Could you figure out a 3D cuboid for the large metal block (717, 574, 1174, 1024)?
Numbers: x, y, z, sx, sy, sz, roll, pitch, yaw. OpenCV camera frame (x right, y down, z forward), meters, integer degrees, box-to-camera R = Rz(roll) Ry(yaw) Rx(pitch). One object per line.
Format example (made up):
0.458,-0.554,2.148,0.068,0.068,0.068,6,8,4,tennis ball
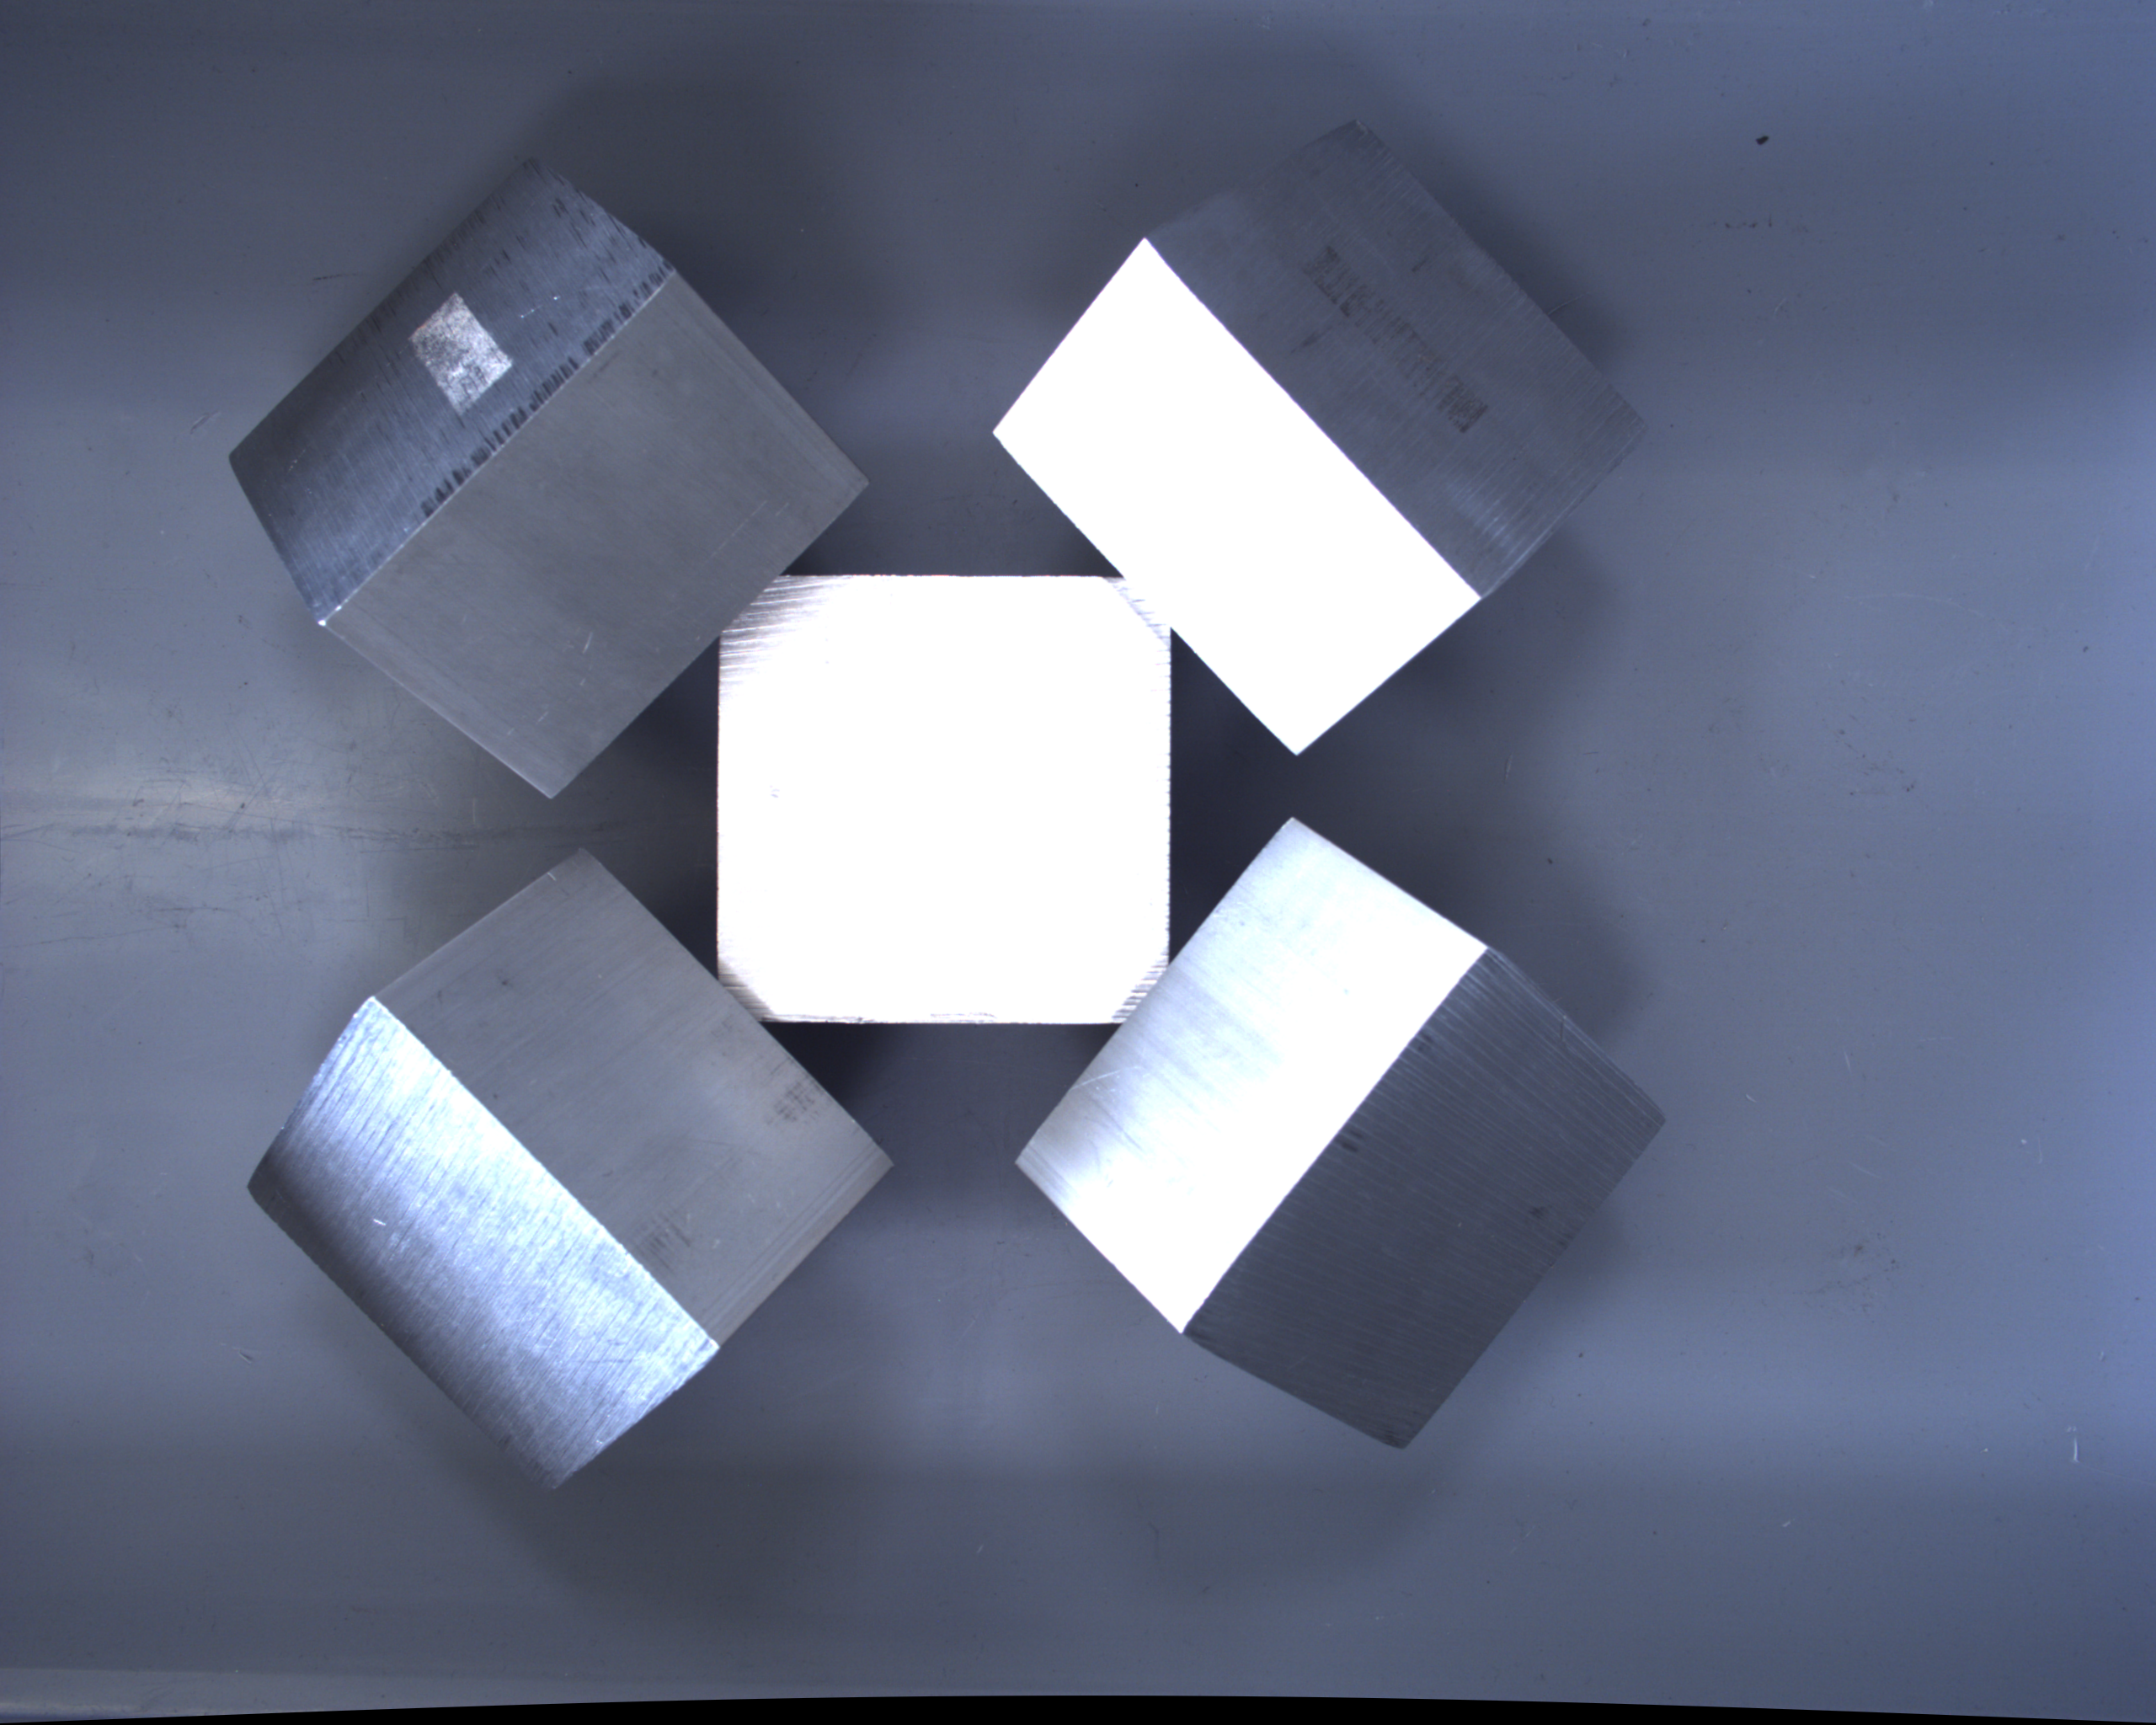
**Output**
-0.023,-0.011,0.396,0.081,0.050,0.080,1,90,0,large metal block

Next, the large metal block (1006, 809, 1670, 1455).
0.049,0.050,0.376,0.080,0.050,0.080,-52,135,-1,large metal block

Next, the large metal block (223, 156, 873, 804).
-0.097,-0.070,0.373,0.080,0.080,0.050,-46,134,0,large metal block

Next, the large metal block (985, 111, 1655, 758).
0.045,-0.079,0.377,0.080,0.050,0.080,47,47,0,large metal block

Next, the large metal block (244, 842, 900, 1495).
-0.093,0.057,0.376,0.080,0.050,0.080,46,134,-1,large metal block
